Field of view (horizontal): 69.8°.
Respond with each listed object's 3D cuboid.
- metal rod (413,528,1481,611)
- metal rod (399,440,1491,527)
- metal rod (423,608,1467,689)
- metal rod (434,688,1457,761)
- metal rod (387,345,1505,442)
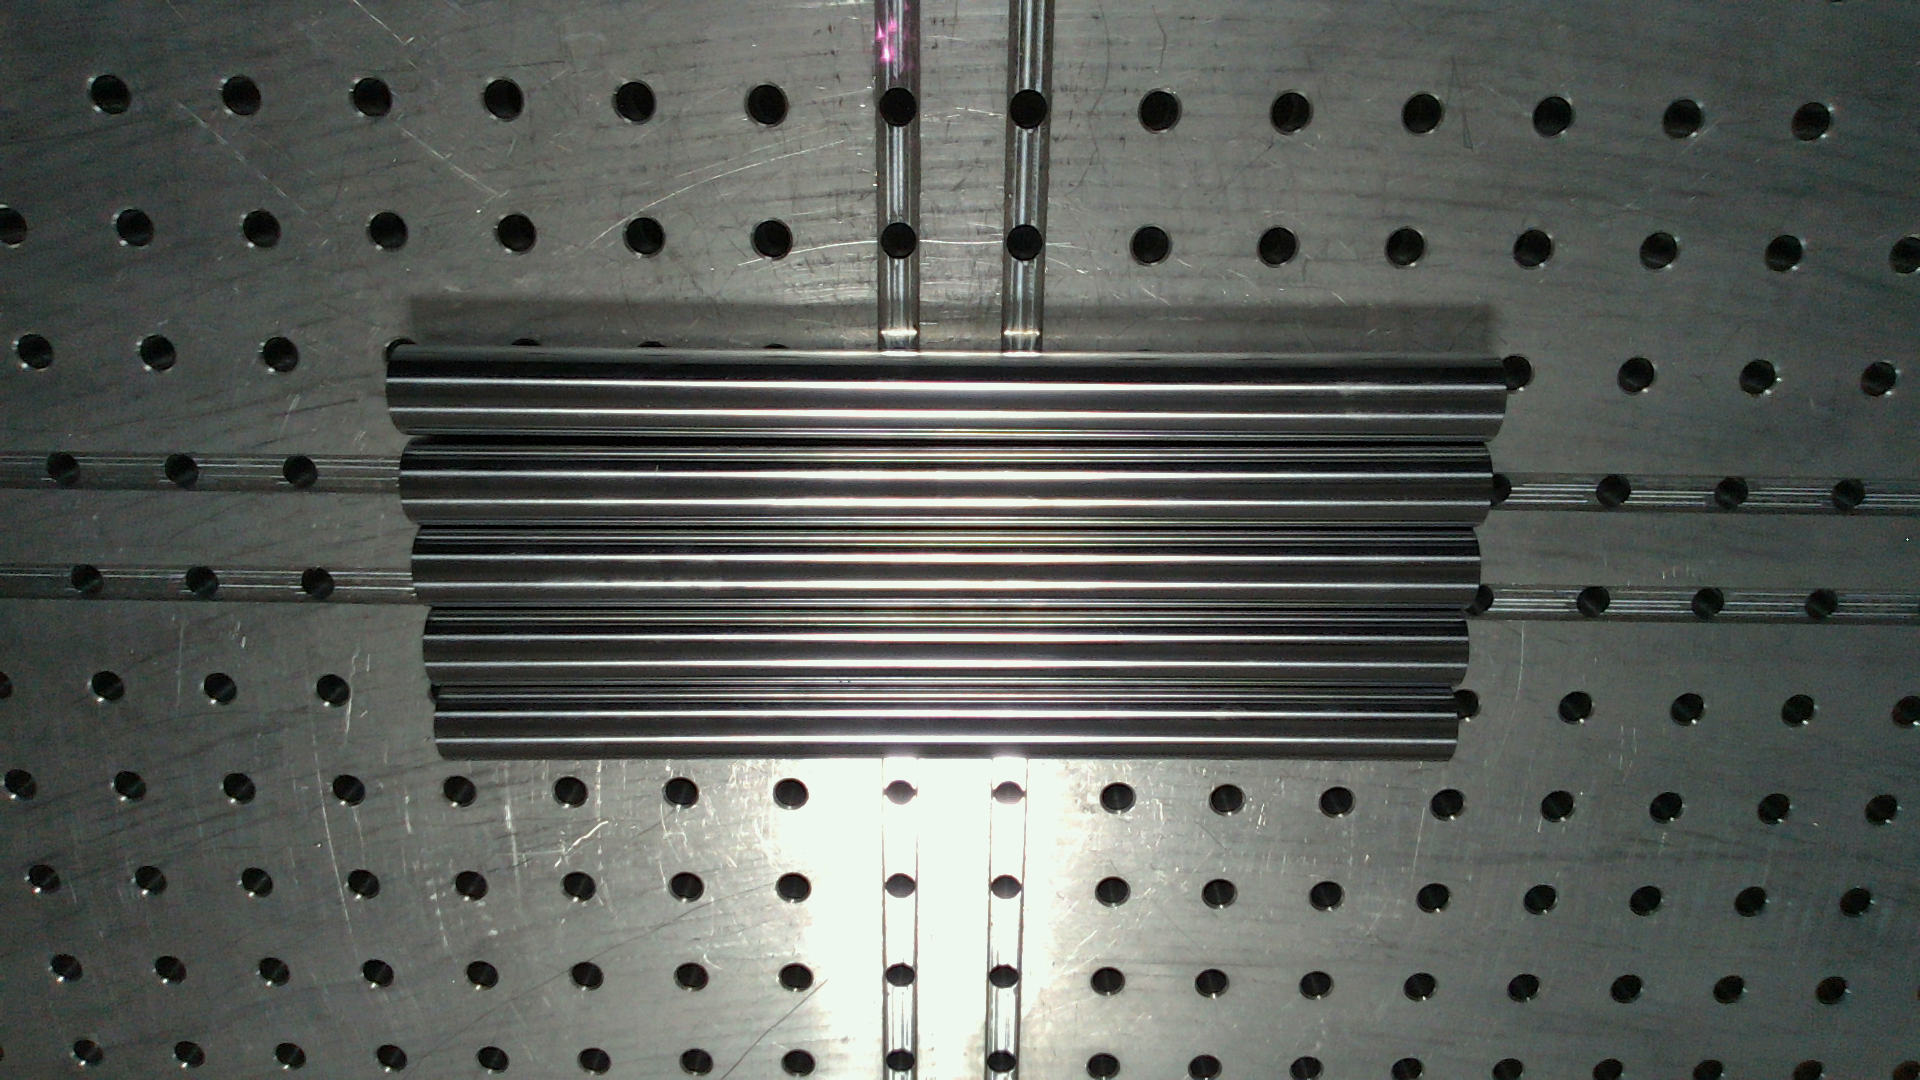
[{"bbox_3d":[-0.003,0.008,0.399,0.300,0.025,0.025,0,110,0],"label":"metal rod"},{"bbox_3d":[-0.004,-0.017,0.390,0.300,0.025,0.025,0,110,0],"label":"metal rod"},{"bbox_3d":[-0.004,0.031,0.408,0.300,0.025,0.025,0,110,0],"label":"metal rod"},{"bbox_3d":[-0.004,0.054,0.416,0.300,0.025,0.025,0,110,0],"label":"metal rod"},{"bbox_3d":[-0.003,-0.041,0.381,0.300,0.025,0.025,0,110,0],"label":"metal rod"}]
